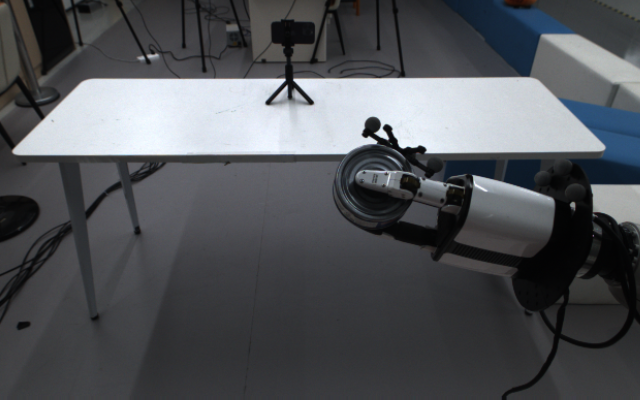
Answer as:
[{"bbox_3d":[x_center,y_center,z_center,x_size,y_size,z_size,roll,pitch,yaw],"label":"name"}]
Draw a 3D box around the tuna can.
[{"bbox_3d":[0.061,-0.009,0.507,0.085,0.034,0.085,0,74,-1],"label":"tuna can"}]
